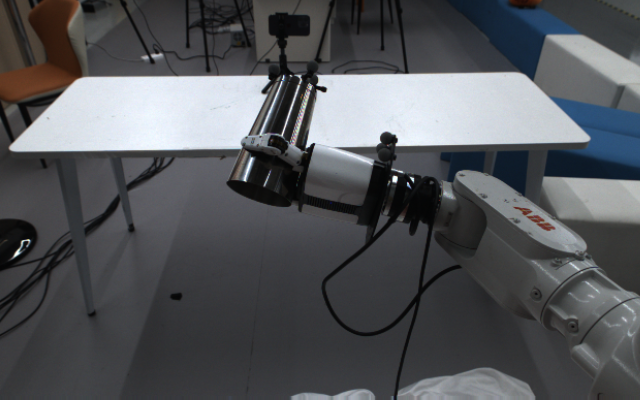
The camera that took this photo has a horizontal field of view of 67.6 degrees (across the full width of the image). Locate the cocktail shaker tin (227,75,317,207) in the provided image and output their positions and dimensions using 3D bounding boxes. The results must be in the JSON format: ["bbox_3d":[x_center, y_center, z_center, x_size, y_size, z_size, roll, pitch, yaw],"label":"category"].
[{"bbox_3d":[-0.060,-0.086,0.678,0.093,0.093,0.170,13,73,15],"label":"cocktail shaker tin"}]
